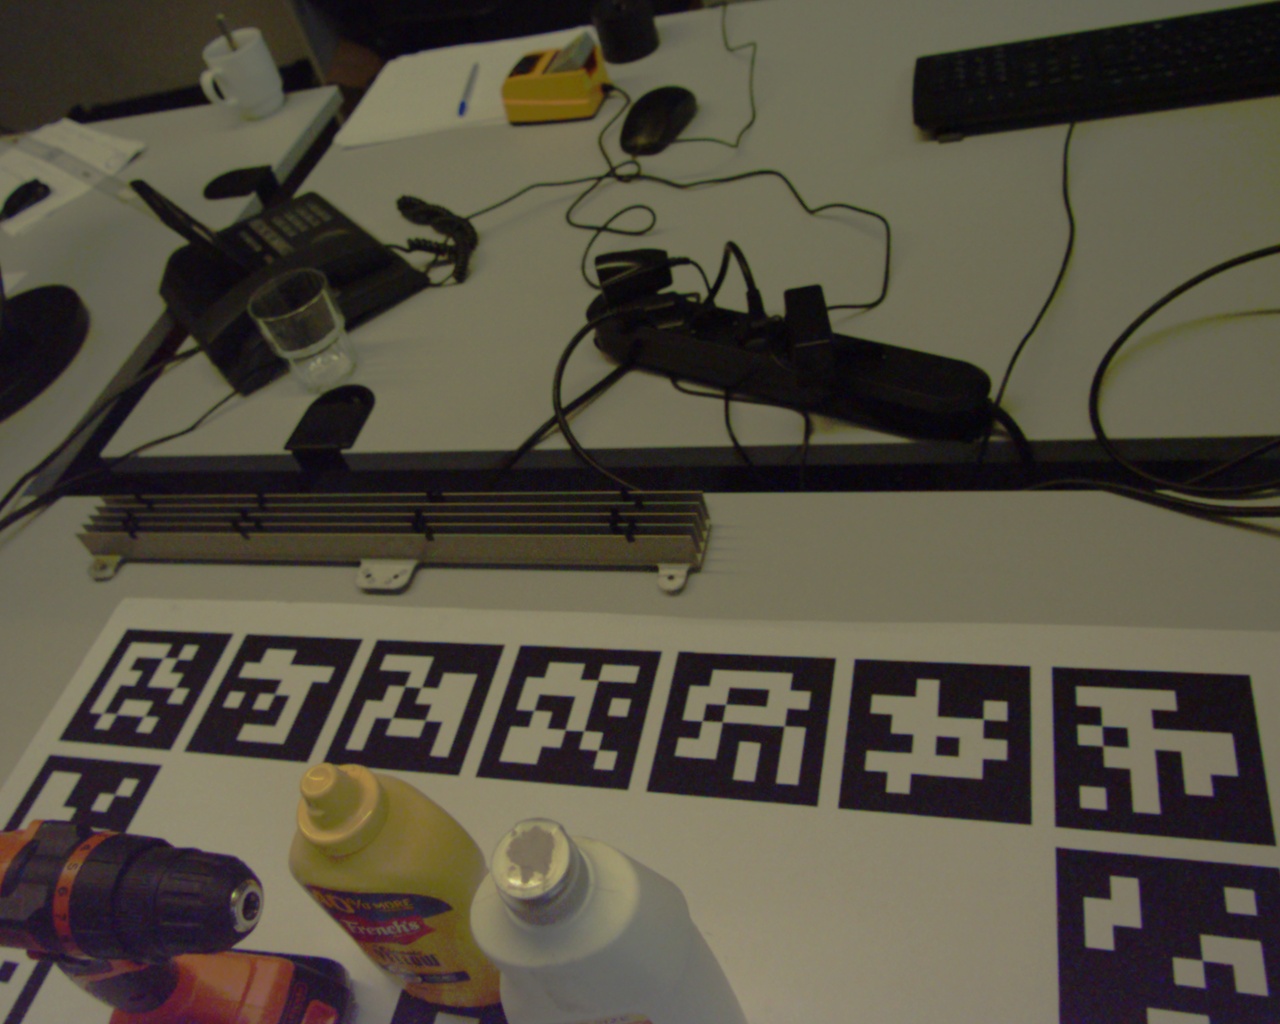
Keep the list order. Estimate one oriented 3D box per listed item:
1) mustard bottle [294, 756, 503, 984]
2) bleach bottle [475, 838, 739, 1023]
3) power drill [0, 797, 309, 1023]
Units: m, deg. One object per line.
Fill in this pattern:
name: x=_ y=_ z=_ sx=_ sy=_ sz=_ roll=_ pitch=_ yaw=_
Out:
mustard bottle: x=-0.125 y=0.183 z=0.596 sx=0.097 sy=0.190 sz=0.058 roll=1 pitch=48 yaw=18
bleach bottle: x=-0.018 y=0.212 z=0.501 sx=0.103 sy=0.248 sz=0.068 roll=-6 pitch=47 yaw=13
power drill: x=-0.239 y=0.217 z=0.578 sx=0.186 sy=0.186 sz=0.057 roll=-1 pitch=41 yaw=15
